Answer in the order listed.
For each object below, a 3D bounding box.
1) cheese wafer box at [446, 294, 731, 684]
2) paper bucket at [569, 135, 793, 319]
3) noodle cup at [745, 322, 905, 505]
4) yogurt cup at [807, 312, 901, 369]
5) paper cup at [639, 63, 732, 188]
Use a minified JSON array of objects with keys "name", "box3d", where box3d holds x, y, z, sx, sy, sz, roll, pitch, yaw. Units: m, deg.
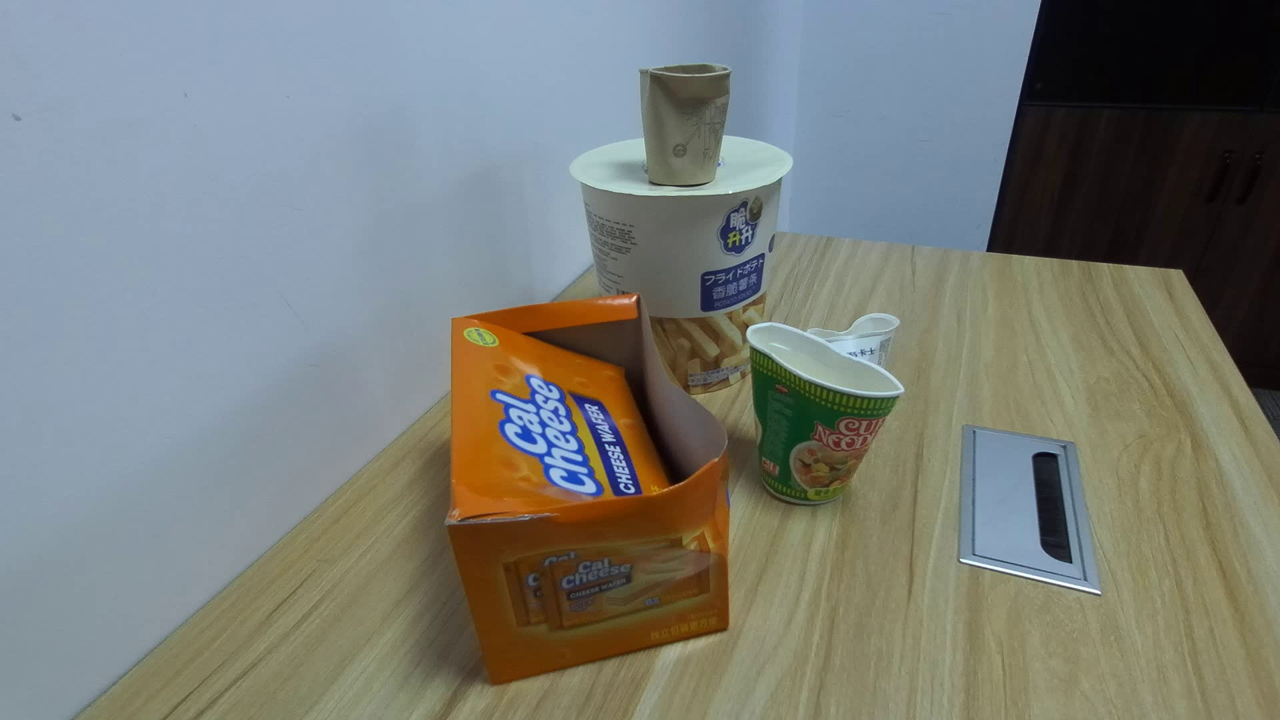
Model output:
[{"name":"cheese wafer box","box3d":[-0.040,0.069,0.465,0.152,0.132,0.229,-8,30,-10]},{"name":"paper bucket","box3d":[0.038,-0.086,0.649,0.198,0.195,0.198,-2,31,1]},{"name":"noodle cup","box3d":[0.121,0.040,0.506,0.070,0.111,0.114,-12,33,-13]},{"name":"yogurt cup","box3d":[0.181,-0.001,0.611,0.076,0.071,0.053,-30,44,-35]},{"name":"paper cup","box3d":[0.034,-0.181,0.544,0.066,0.084,0.071,-5,26,-7]}]
